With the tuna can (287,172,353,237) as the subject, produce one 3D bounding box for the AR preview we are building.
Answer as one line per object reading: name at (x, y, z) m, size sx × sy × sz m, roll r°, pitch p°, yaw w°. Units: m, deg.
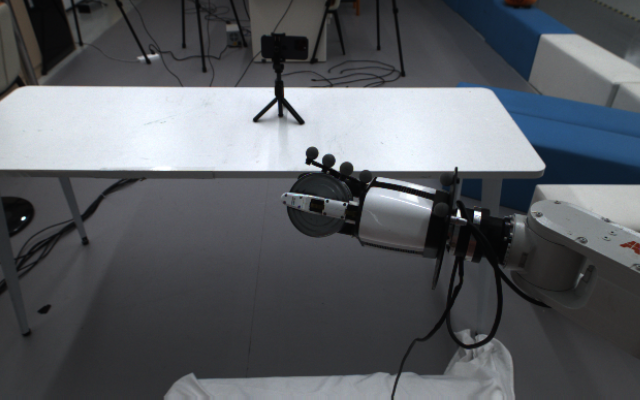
tuna can at (0.003, 0.004, 0.645) m, size 0.085 × 0.085 × 0.034 m, roll 13°, pitch 2°, yaw 16°
